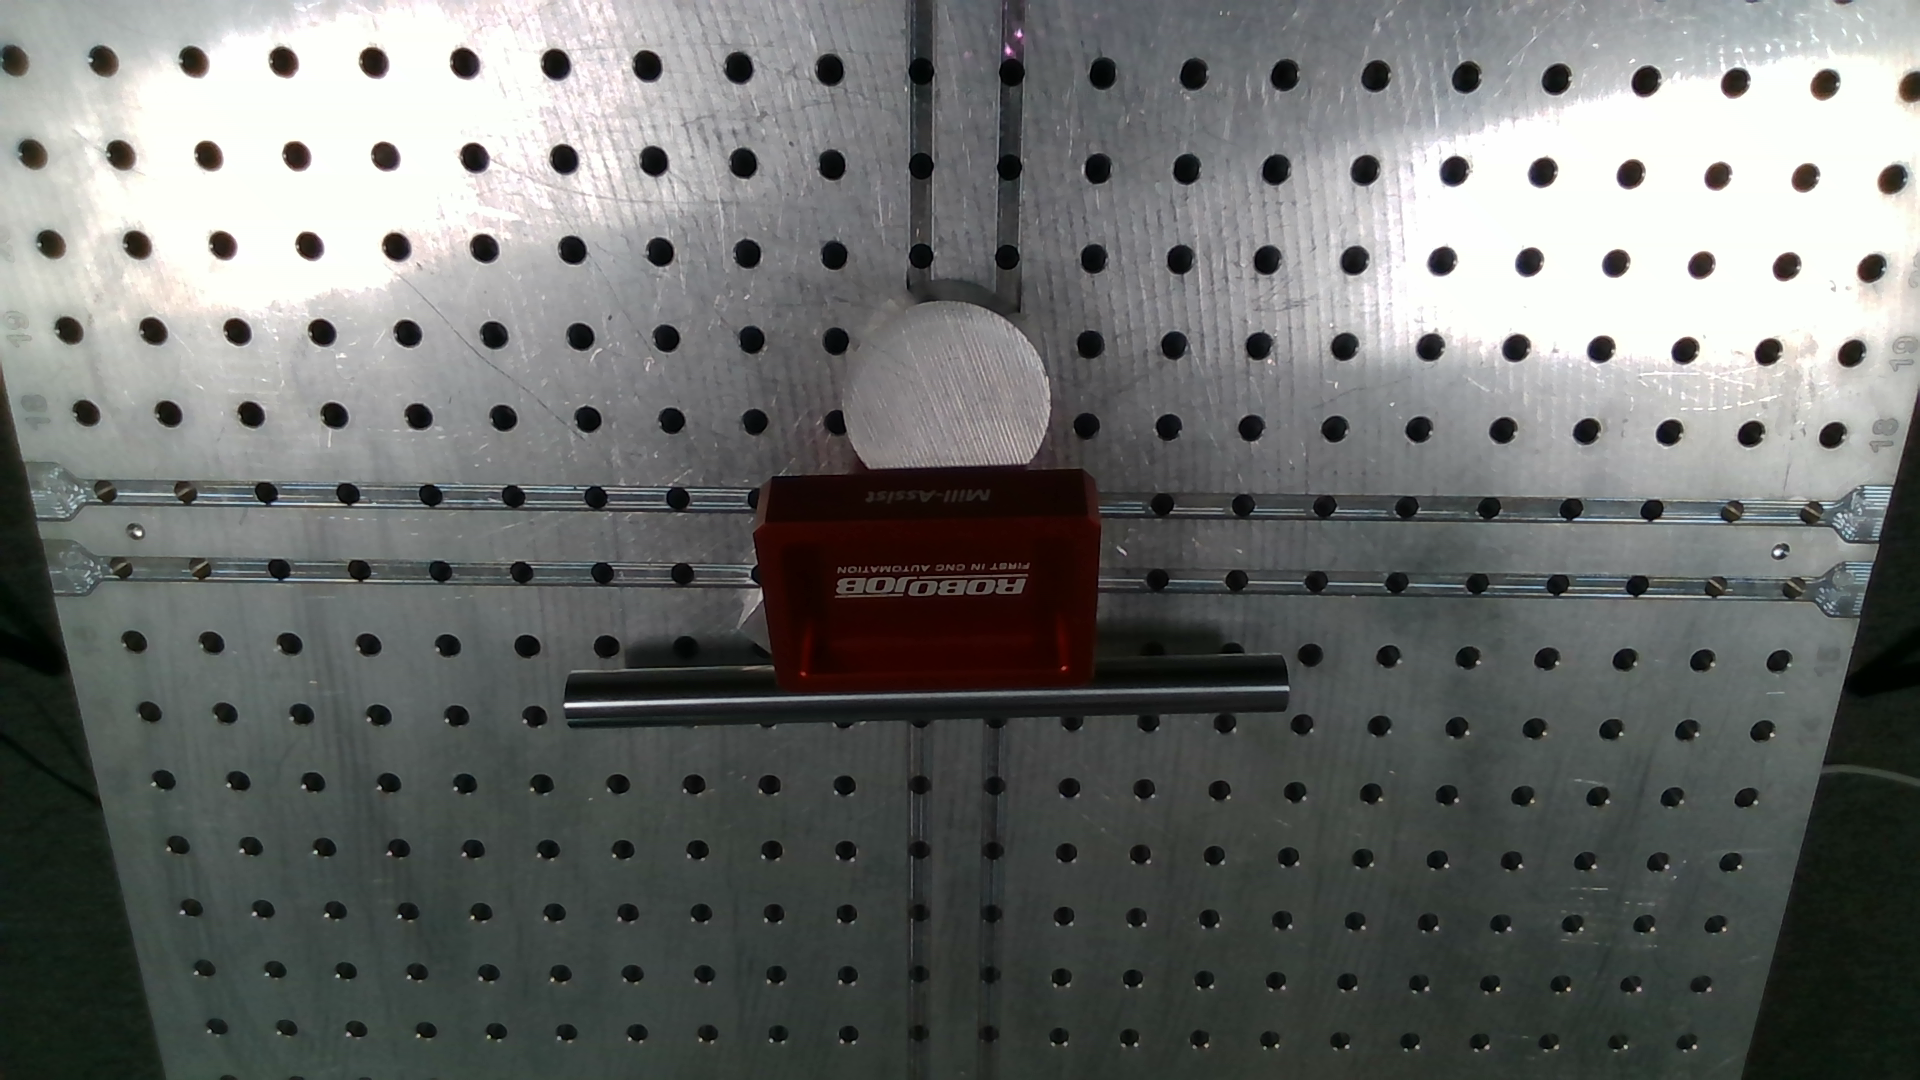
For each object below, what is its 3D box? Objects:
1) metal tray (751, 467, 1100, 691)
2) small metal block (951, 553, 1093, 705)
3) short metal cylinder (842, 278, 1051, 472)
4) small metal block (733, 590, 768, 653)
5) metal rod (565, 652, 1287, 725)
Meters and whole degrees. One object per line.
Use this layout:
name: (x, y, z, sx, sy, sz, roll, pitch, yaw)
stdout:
metal tray: (-0.012, 0.017, 0.548, 0.130, 0.030, 0.090, -1, 130, 1)
small metal block: (0.027, 0.039, 0.602, 0.050, 0.025, 0.050, -14, 110, 5)
short metal cylinder: (-0.005, -0.061, 0.550, 0.080, 0.050, 0.080, 0, 110, 0)
small metal block: (-0.062, 0.030, 0.597, 0.050, 0.025, 0.050, 37, 106, -12)
metal rod: (-0.014, 0.063, 0.583, 0.300, 0.025, 0.025, -1, 110, 1)
